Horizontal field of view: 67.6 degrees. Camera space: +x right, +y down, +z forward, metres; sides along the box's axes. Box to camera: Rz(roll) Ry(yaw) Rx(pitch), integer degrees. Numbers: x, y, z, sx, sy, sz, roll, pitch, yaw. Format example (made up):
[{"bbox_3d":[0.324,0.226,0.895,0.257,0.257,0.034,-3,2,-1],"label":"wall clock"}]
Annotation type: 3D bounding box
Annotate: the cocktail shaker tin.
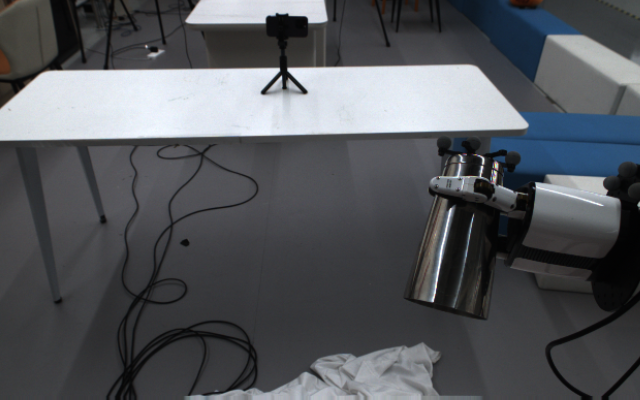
[{"bbox_3d":[0.161,0.036,0.544,0.093,0.093,0.170,12,76,15],"label":"cocktail shaker tin"}]
